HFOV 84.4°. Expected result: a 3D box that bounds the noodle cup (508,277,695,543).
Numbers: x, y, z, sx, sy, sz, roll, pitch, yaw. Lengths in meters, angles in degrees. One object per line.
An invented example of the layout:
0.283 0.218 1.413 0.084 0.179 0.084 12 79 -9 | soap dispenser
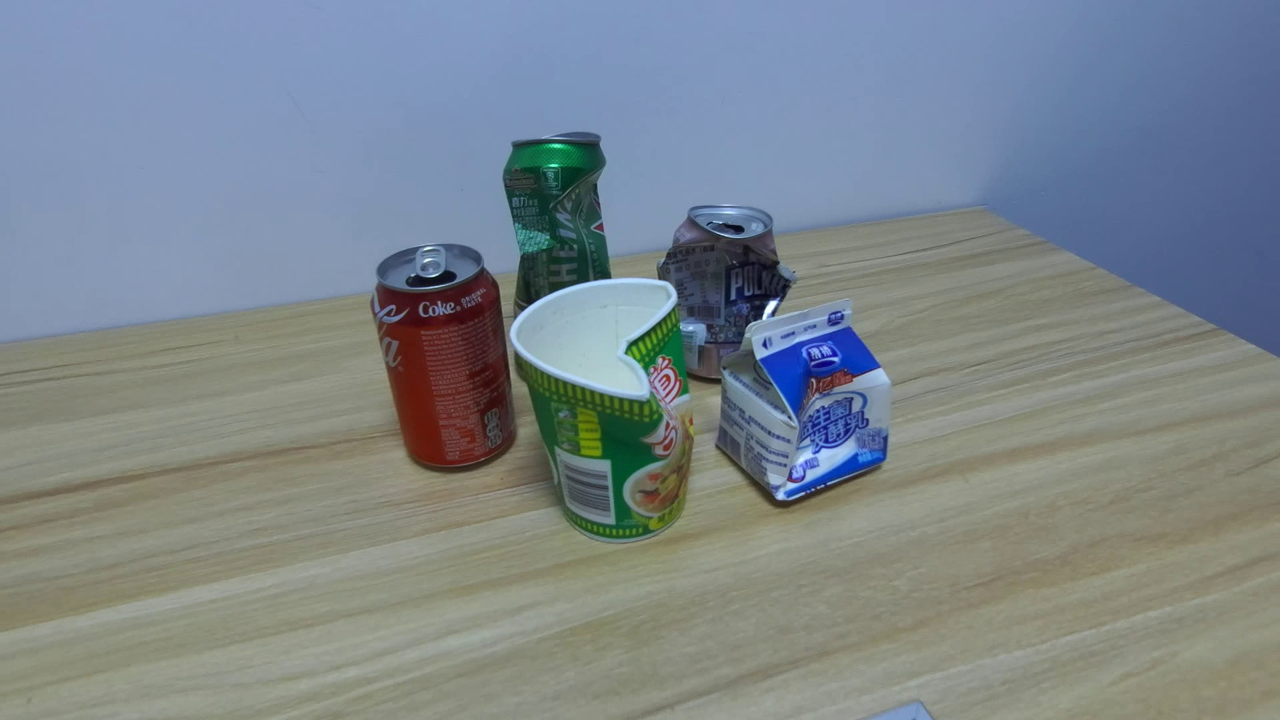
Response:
-0.012 0.027 0.359 0.086 0.109 0.094 19 39 26 | noodle cup

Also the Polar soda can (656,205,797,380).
0.057 -0.045 0.466 0.070 0.114 0.074 30 47 30 | Polar soda can

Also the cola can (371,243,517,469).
-0.108 -0.001 0.397 0.068 0.120 0.068 -1 33 1 | cola can

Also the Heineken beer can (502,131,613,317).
-0.050 -0.062 0.456 0.067 0.159 0.078 -8 24 -18 | Heineken beer can

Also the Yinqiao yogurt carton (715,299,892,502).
0.088 0.015 0.391 0.077 0.094 0.070 -16 29 -23 | Yinqiao yogurt carton
